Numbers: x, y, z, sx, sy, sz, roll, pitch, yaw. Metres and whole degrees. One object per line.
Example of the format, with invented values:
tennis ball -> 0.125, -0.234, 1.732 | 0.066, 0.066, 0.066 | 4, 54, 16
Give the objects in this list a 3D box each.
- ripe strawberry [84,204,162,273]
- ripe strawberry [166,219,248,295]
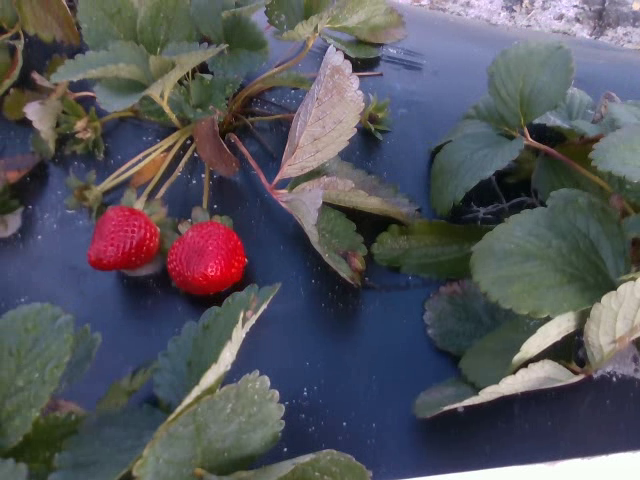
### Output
ripe strawberry -> -0.131, 0.002, 0.396 | 0.048, 0.041, 0.056 | 3, 35, 13
ripe strawberry -> -0.073, 0.010, 0.373 | 0.057, 0.051, 0.064 | -25, 24, -7
